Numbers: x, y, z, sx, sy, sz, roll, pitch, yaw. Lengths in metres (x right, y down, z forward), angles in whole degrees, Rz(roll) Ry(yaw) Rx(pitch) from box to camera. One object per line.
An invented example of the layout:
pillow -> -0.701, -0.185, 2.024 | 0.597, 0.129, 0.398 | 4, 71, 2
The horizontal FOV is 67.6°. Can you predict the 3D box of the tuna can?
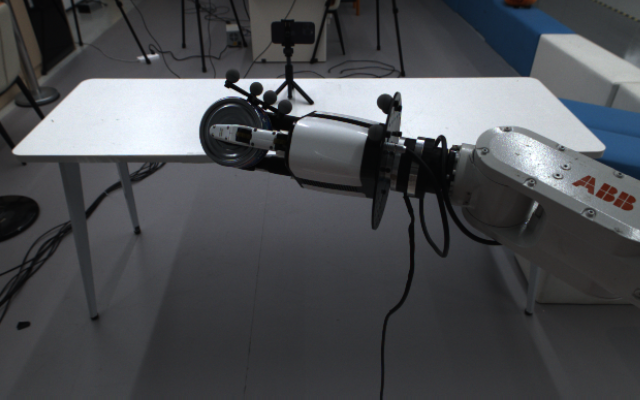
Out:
tuna can -> -0.100, -0.076, 0.594 | 0.085, 0.085, 0.034 | 12, 4, 14
